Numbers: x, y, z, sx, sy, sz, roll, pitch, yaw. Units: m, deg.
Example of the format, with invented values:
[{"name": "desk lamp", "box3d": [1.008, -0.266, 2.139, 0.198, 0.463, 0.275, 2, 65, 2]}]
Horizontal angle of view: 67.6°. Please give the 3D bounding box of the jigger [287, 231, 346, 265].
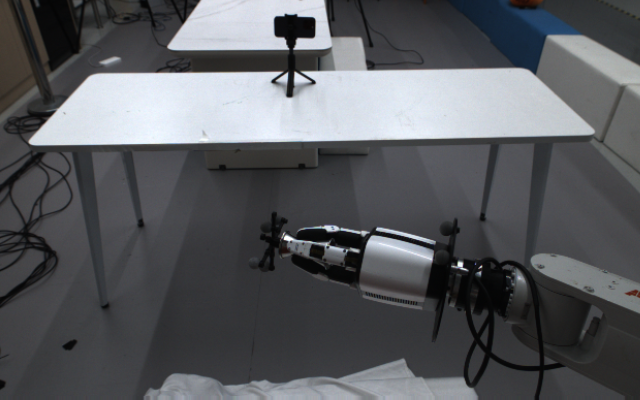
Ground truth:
[{"name": "jigger", "box3d": [-0.012, 0.063, 0.660, 0.071, 0.043, 0.043, 10, 35, 16]}]
